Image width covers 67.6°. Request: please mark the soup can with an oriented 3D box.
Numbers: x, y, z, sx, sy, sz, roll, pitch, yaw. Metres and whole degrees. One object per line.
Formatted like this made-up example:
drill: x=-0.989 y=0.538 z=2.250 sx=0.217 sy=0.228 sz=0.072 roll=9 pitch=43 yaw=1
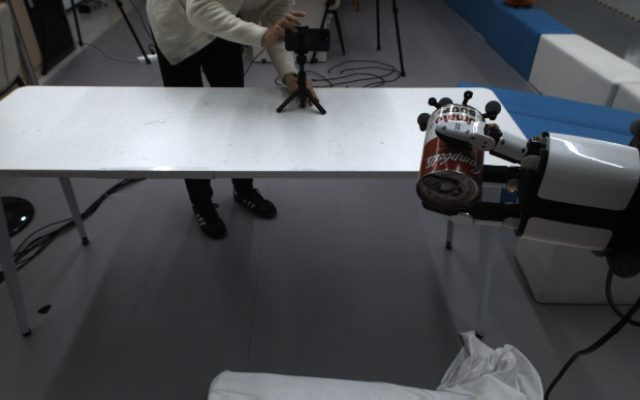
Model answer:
soup can: x=0.148 y=-0.050 z=0.538 sx=0.067 sy=0.067 sz=0.101 roll=9 pitch=56 yaw=10
